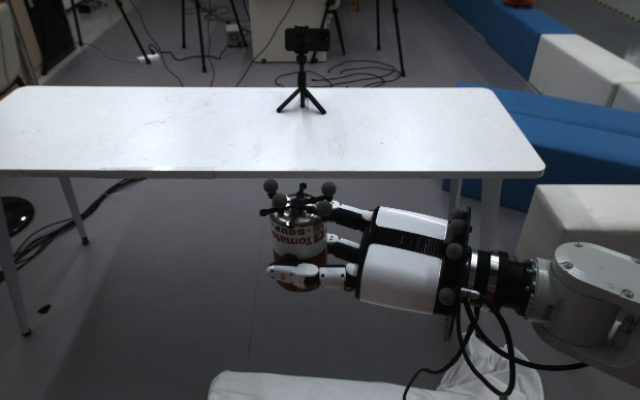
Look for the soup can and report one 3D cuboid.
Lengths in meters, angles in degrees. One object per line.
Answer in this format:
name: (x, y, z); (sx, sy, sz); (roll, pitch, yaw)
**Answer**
soup can: (-0.022, 0.050, 0.586); (0.067, 0.101, 0.067); (-2, 34, 1)
